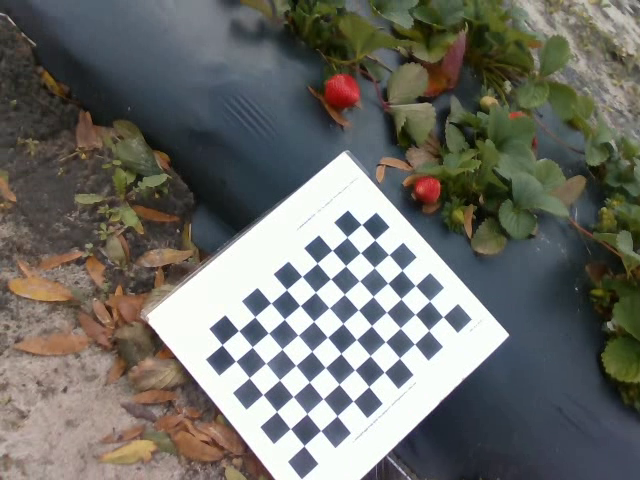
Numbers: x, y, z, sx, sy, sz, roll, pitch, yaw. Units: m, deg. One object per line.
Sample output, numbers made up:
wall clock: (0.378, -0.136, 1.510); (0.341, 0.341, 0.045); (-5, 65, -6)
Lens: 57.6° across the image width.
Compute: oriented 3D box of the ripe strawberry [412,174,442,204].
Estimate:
ripe strawberry: (0.130, -0.059, 0.710); (0.037, 0.041, 0.042); (-33, -6, 31)

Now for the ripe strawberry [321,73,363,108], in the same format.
ripe strawberry: (0.033, -0.180, 0.720); (0.046, 0.043, 0.065); (-35, 34, -8)
